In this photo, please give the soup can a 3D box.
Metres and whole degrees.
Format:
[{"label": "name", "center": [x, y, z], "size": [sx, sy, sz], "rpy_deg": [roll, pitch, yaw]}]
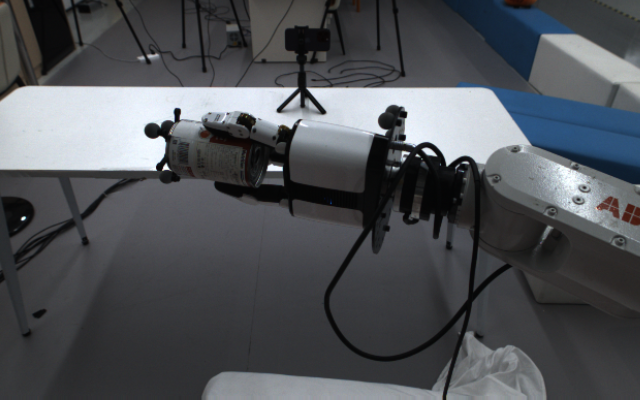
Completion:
[{"label": "soup can", "center": [-0.115, -0.054, 0.564], "size": [0.101, 0.067, 0.067], "rpy_deg": [10, 35, 10]}]
